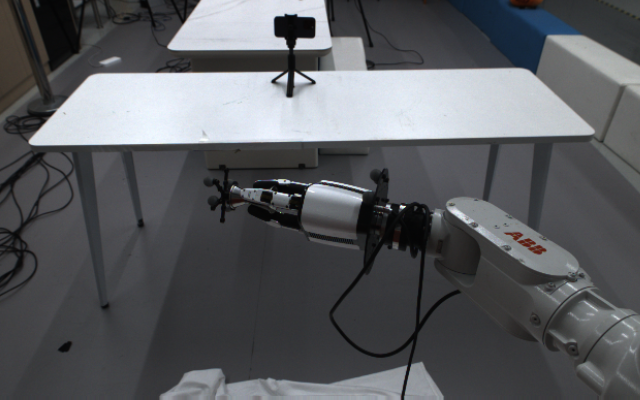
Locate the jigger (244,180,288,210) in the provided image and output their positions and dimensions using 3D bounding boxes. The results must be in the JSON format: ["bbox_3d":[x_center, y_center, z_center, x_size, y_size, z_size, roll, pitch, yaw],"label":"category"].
[{"bbox_3d":[-0.097,-0.008,0.766,0.071,0.043,0.043,4,34,15],"label":"jigger"}]
